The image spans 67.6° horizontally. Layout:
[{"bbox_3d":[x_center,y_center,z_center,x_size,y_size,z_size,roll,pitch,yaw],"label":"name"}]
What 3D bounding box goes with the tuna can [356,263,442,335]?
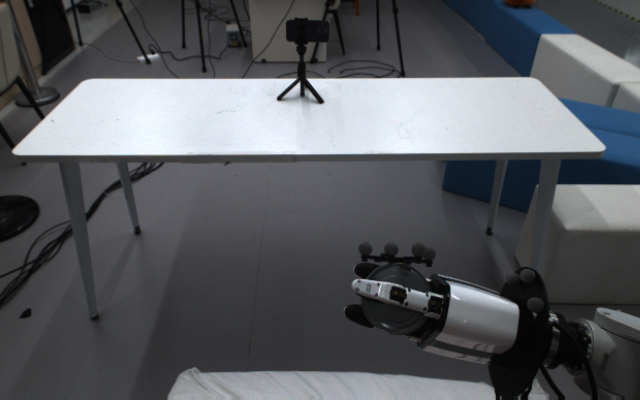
[{"bbox_3d":[0.095,0.120,0.593,0.085,0.034,0.085,0,75,1],"label":"tuna can"}]
